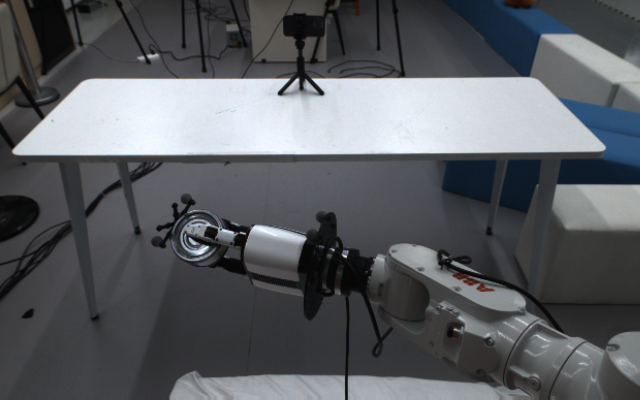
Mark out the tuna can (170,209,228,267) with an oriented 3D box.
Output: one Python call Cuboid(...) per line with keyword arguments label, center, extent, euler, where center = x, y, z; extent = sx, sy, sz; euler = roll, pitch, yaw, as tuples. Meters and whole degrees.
Cuboid(label="tuna can", center=(-0.182, 0.059, 0.746), extent=(0.085, 0.034, 0.085), euler=(-2, 73, 6))
